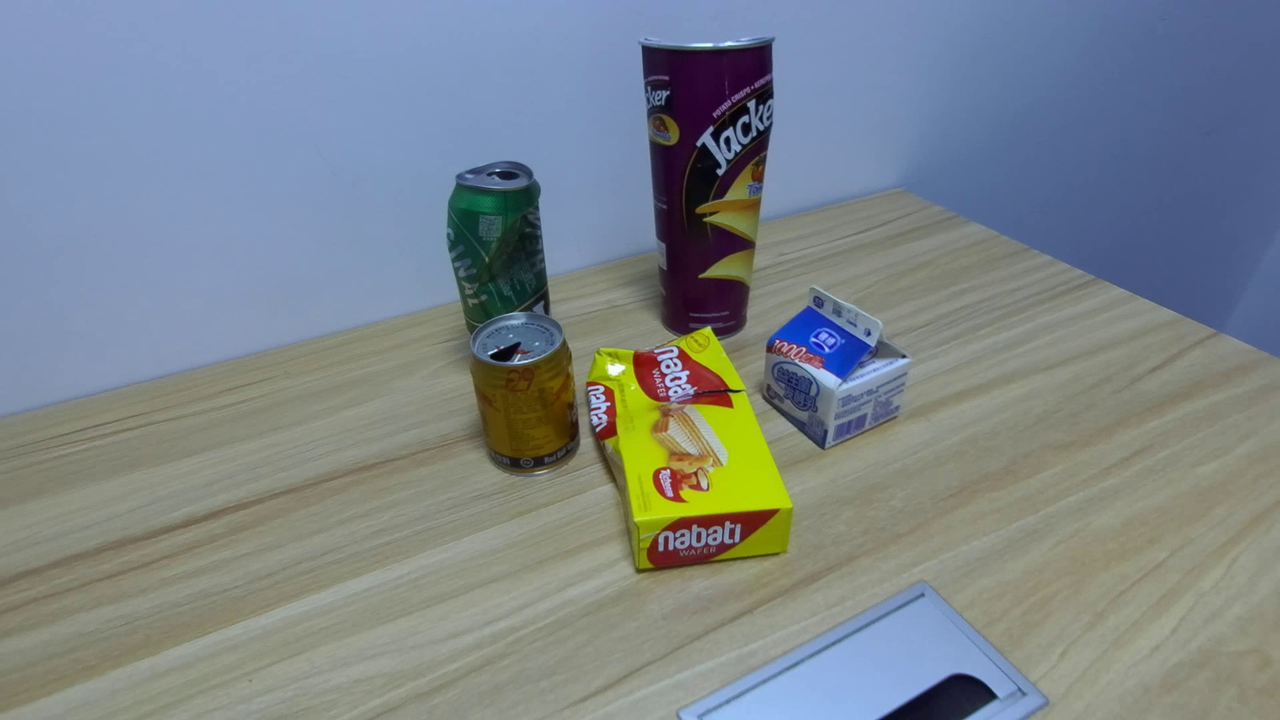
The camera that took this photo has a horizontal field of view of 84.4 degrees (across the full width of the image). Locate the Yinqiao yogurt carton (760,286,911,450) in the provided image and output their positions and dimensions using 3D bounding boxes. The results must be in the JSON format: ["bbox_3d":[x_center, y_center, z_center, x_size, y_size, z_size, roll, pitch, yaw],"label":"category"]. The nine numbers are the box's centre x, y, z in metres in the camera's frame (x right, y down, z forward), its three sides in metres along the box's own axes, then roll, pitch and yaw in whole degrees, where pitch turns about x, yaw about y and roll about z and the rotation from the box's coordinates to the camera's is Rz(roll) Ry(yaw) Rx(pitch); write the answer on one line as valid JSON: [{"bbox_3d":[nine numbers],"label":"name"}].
[{"bbox_3d":[0.138,-0.002,0.499,0.074,0.092,0.075,-19,38,-24],"label":"Yinqiao yogurt carton"}]

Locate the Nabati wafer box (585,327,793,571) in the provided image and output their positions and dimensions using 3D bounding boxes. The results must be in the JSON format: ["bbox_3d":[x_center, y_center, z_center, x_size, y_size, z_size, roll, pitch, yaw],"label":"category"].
[{"bbox_3d":[0.023,0.047,0.483,0.107,0.042,0.203,-5,34,-7],"label":"Nabati wafer box"}]

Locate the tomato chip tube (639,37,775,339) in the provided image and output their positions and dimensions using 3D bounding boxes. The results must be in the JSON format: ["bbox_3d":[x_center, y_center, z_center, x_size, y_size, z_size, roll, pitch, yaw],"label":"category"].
[{"bbox_3d":[0.054,-0.132,0.566,0.076,0.235,0.077,-30,43,-34],"label":"tomato chip tube"}]

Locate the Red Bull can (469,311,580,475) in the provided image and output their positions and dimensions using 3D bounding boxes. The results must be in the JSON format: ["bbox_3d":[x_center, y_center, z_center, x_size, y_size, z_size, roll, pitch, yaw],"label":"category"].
[{"bbox_3d":[-0.077,0.022,0.477,0.067,0.093,0.067,-1,36,1],"label":"Red Bull can"}]

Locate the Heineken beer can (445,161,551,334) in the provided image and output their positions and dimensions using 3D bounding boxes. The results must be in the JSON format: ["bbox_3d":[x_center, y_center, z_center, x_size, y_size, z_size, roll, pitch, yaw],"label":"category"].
[{"bbox_3d":[-0.104,-0.062,0.538,0.078,0.164,0.066,-12,38,-19],"label":"Heineken beer can"}]
